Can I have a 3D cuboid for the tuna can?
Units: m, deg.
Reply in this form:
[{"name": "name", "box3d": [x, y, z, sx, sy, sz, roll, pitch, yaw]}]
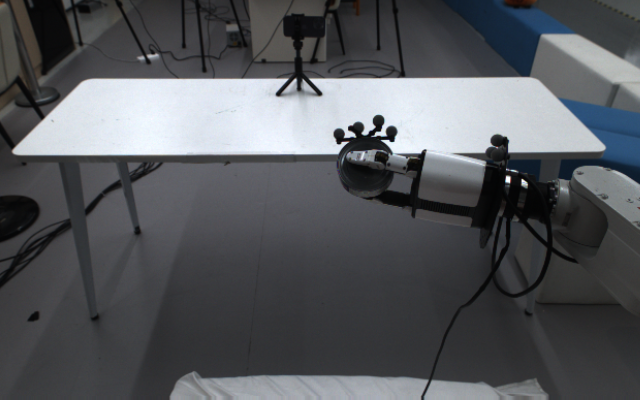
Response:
[{"name": "tuna can", "box3d": [0.069, -0.048, 0.719, 0.085, 0.034, 0.085, -2, 69, 6]}]
